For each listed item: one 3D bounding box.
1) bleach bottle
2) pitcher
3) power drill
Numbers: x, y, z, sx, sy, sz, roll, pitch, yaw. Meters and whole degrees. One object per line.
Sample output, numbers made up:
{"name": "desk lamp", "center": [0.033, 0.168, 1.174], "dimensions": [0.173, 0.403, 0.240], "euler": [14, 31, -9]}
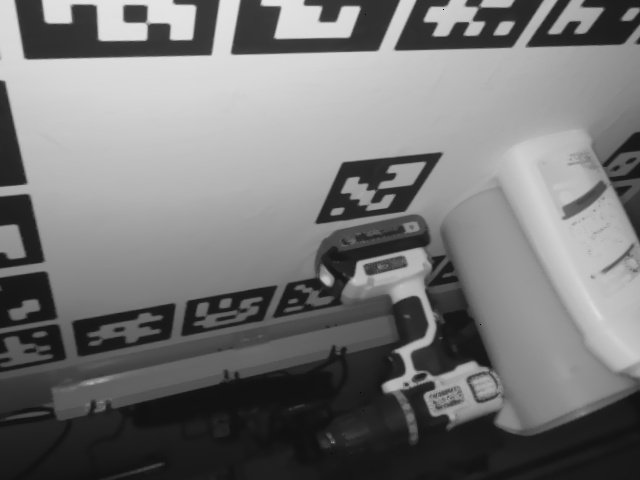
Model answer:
{"name": "bleach bottle", "center": [0.301, 0.027, 0.632], "dimensions": [0.104, 0.251, 0.067], "euler": [-12, 148, -16]}
{"name": "pitcher", "center": [0.261, 0.070, 0.716], "dimensions": [0.189, 0.243, 0.133], "euler": [-22, 148, 1]}
{"name": "power drill", "center": [0.099, 0.094, 0.669], "dimensions": [0.186, 0.187, 0.056], "euler": [-6, 144, -15]}
